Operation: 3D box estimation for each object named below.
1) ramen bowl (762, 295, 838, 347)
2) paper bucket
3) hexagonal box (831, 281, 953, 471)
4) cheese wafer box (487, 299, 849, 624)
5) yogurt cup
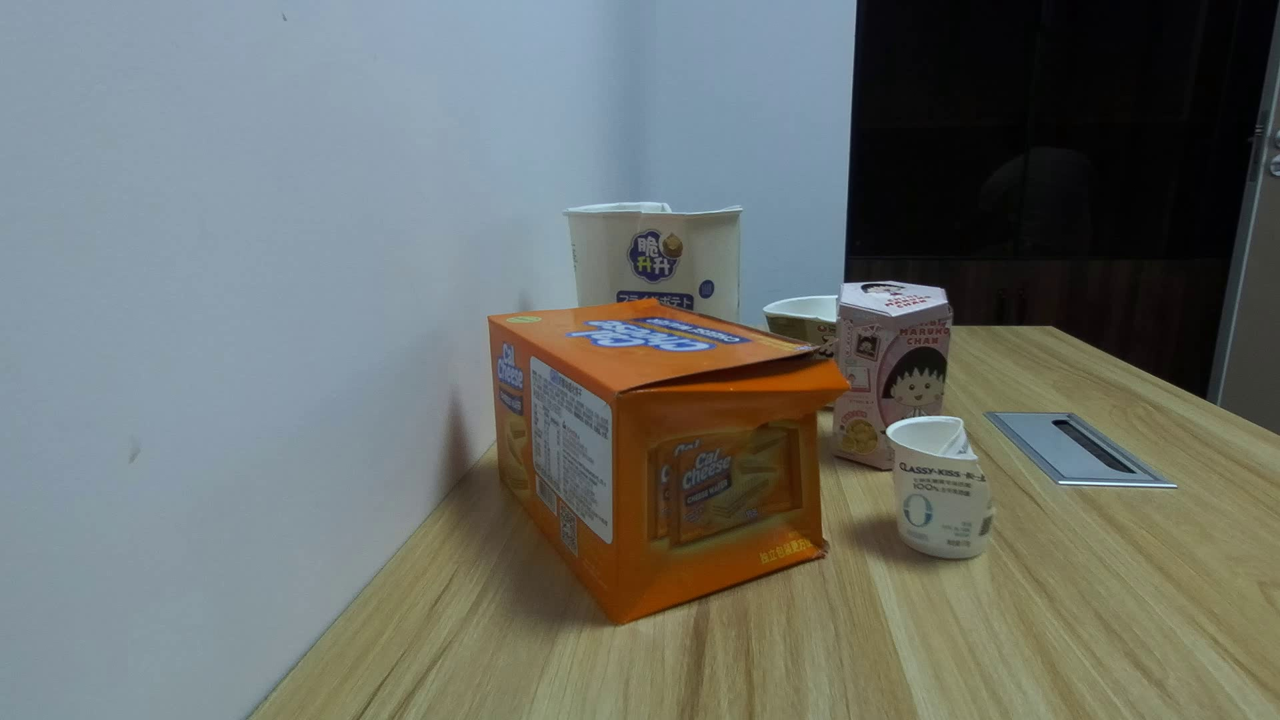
[{"bbox_3d":[0.197,-0.011,0.718,0.137,0.098,0.137,-1,14,0],"label":"ramen bowl"},{"bbox_3d":[0.031,-0.053,0.700,0.162,0.202,0.170,15,24,39],"label":"paper bucket"},{"bbox_3d":[0.199,0.010,0.569,0.092,0.135,0.085,-4,16,-10],"label":"hexagonal box"},{"bbox_3d":[0.005,0.041,0.471,0.150,0.137,0.226,-8,16,-26],"label":"cheese wafer box"},{"bbox_3d":[0.184,0.079,0.435,0.067,0.070,0.067,-2,18,1],"label":"yogurt cup"}]
